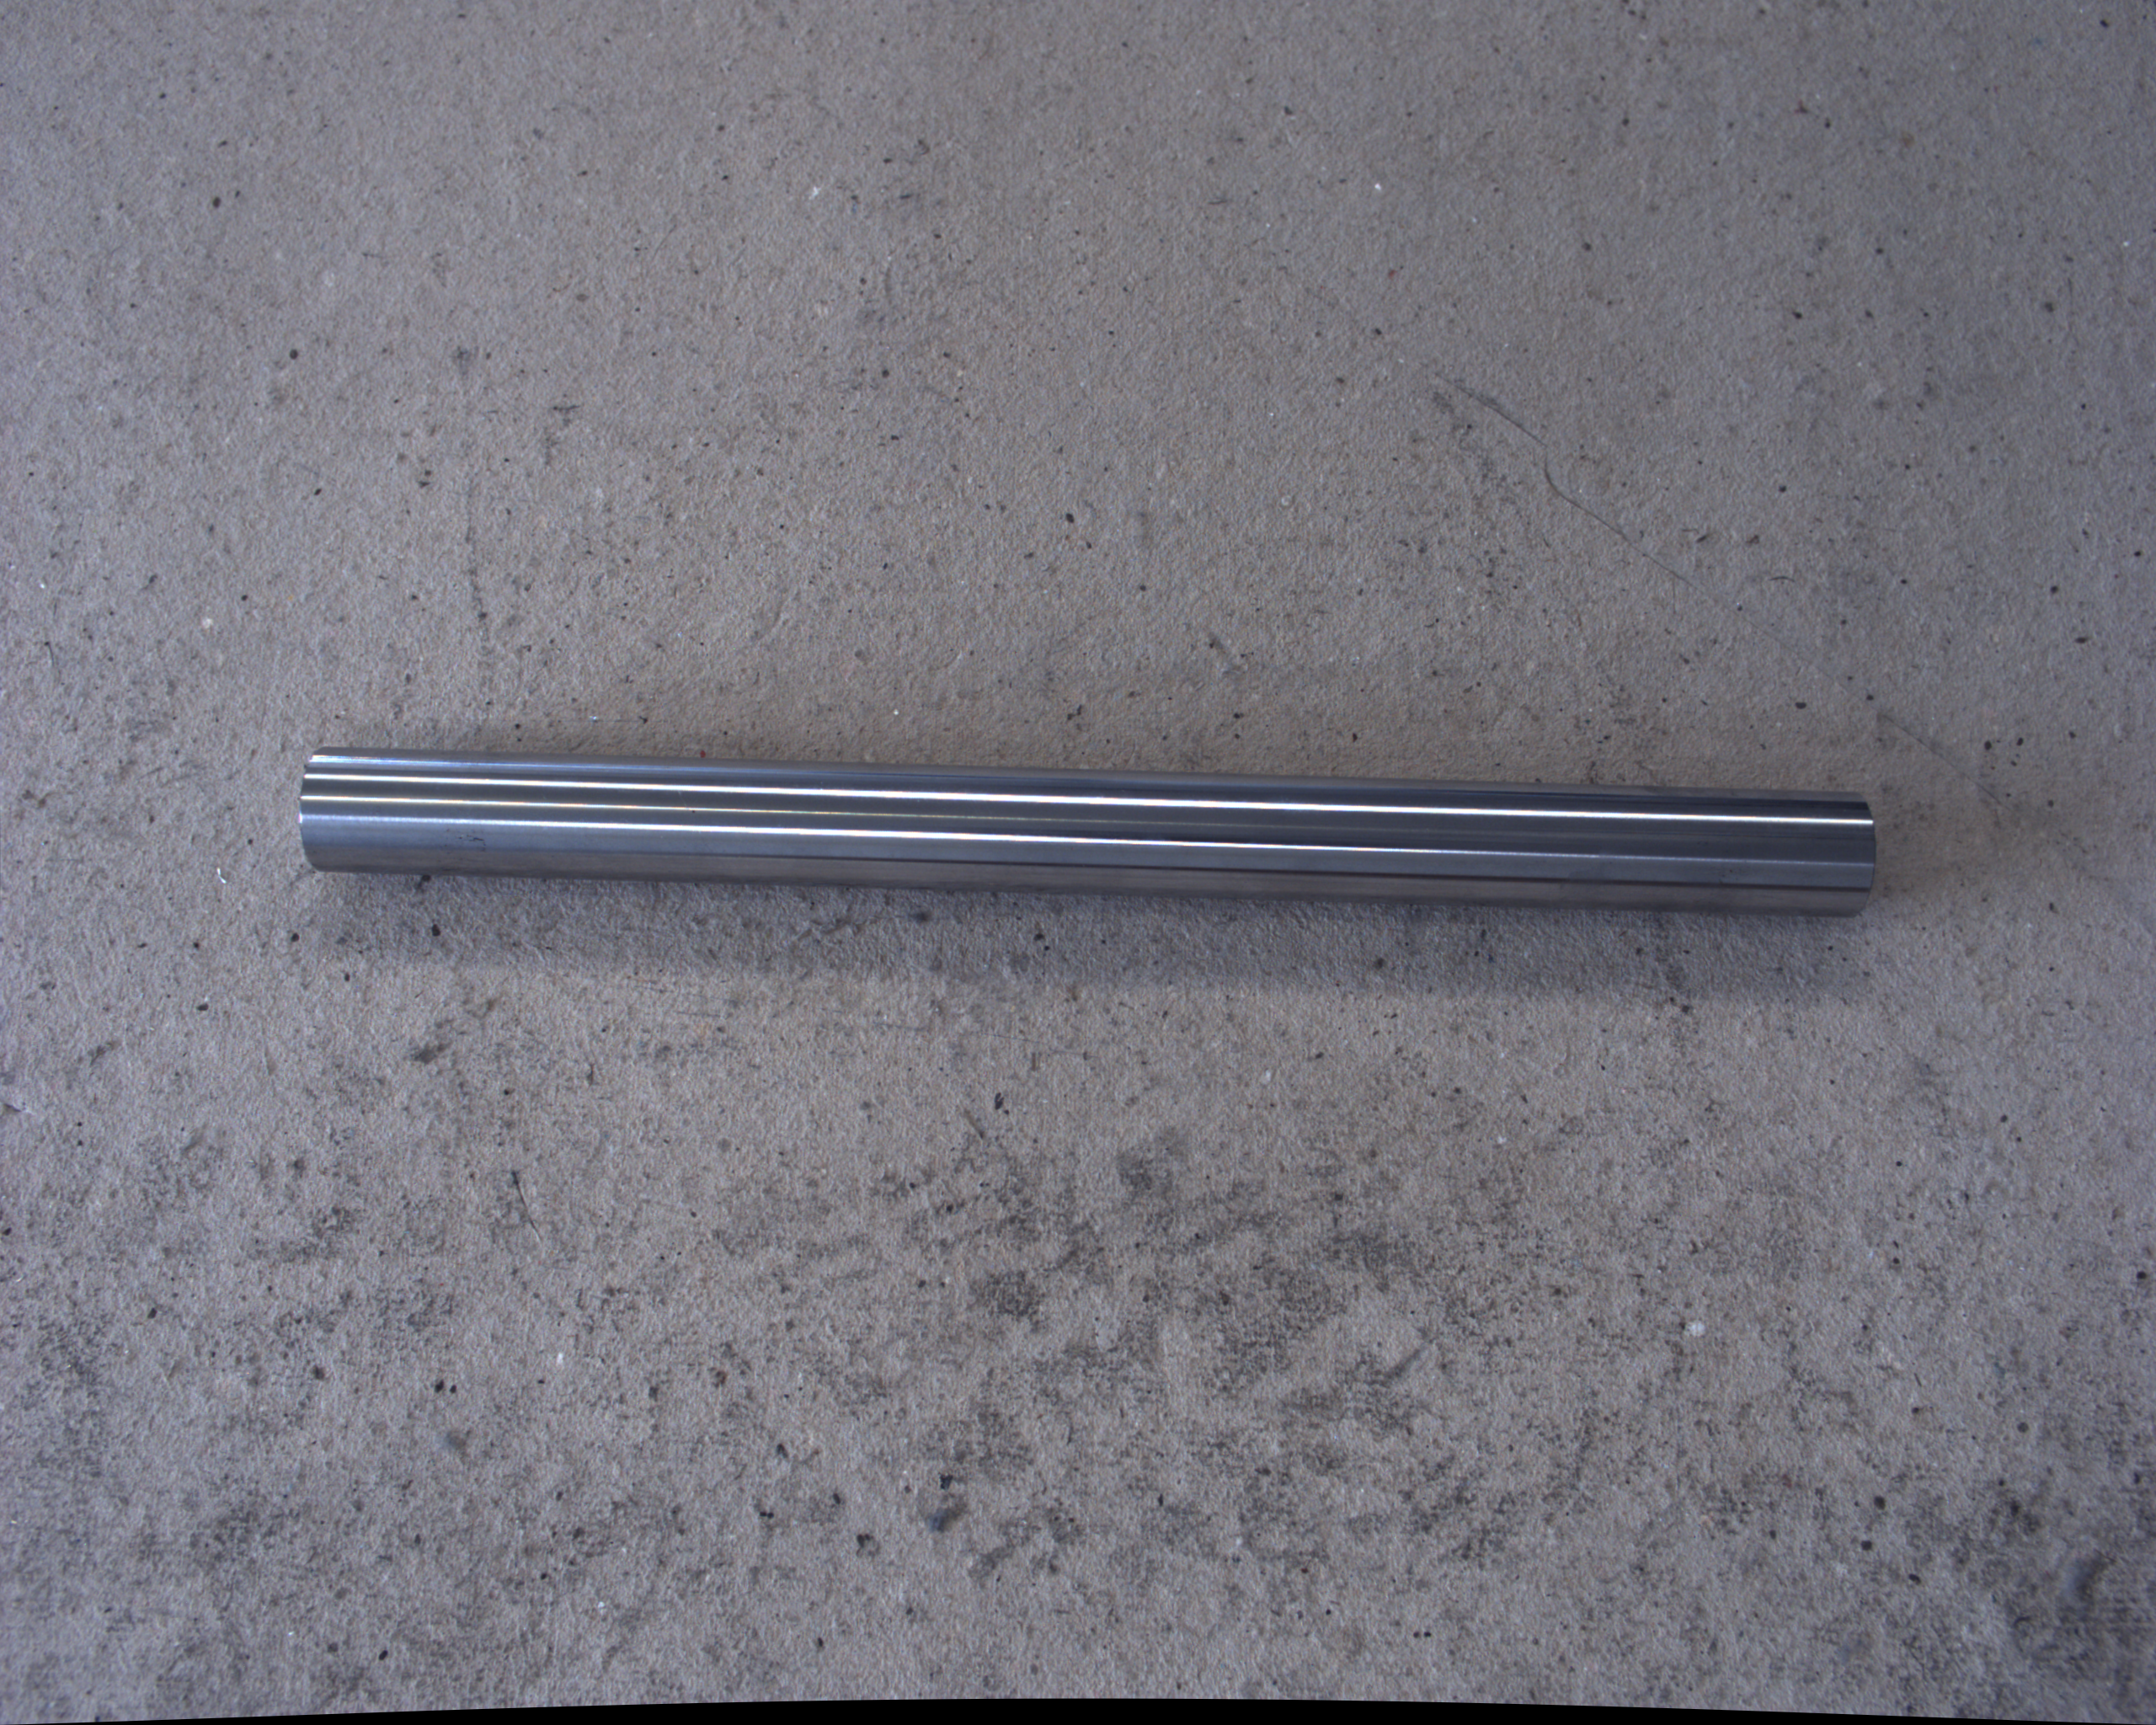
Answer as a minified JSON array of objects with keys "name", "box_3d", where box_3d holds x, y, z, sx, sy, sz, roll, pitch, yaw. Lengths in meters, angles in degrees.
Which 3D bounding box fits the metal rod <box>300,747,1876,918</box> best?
[{"name":"metal rod","box_3d":[0.002,-0.006,0.412,0.302,0.025,0.025,2,70,0]}]
